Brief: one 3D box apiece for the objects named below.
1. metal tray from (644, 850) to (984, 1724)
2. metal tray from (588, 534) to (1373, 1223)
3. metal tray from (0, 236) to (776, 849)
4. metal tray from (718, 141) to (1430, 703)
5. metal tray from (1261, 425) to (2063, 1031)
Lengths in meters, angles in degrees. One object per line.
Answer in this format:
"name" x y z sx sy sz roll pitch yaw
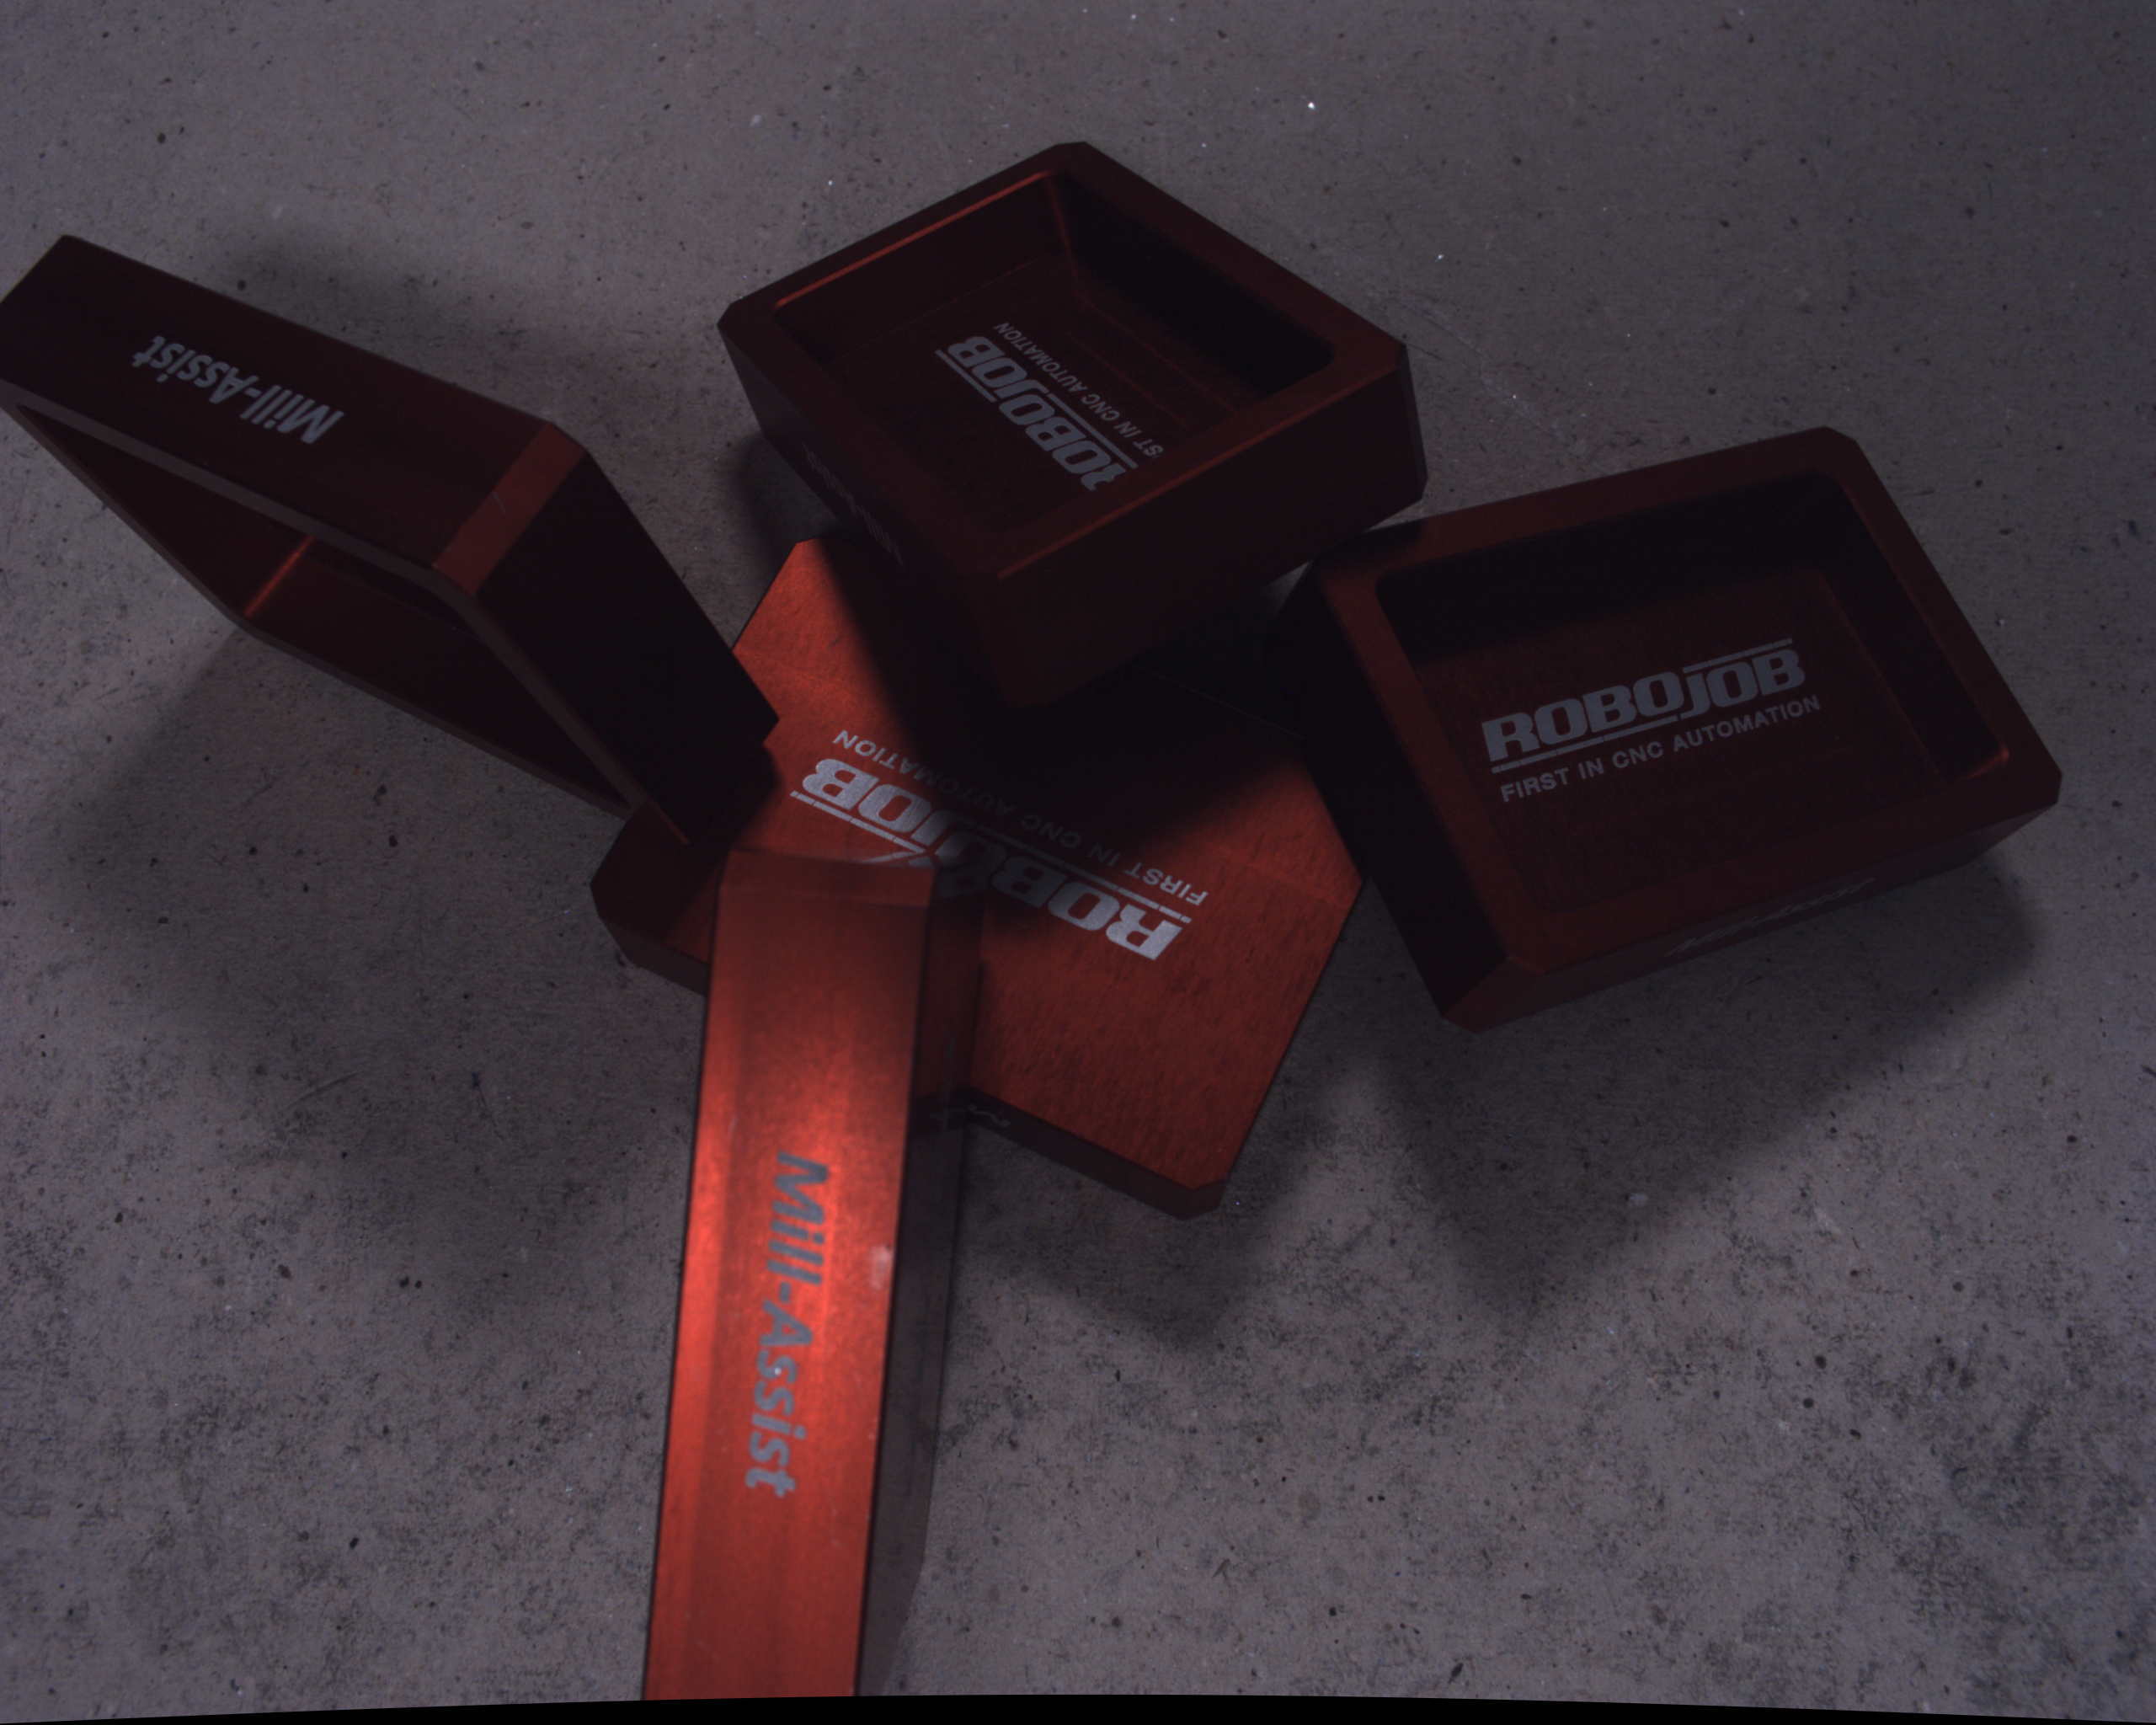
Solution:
"metal tray" -0.038 0.063 0.331 0.030 0.090 0.129 5 91 2
"metal tray" -0.015 0.002 0.406 0.130 0.030 0.090 24 72 8
"metal tray" -0.127 -0.057 0.378 0.130 0.090 0.030 24 71 26
"metal tray" -0.005 -0.092 0.409 0.090 0.030 0.130 -30 44 -11
"metal tray" 0.112 -0.029 0.401 0.131 0.030 0.090 -16 70 -22
